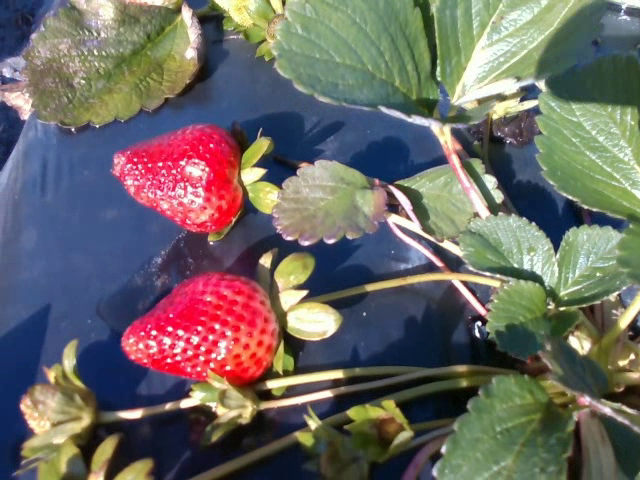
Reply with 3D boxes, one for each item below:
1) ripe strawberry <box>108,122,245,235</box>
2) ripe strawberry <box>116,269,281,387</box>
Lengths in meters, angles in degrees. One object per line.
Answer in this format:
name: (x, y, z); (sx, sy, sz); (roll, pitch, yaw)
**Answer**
ripe strawberry: (-0.052, -0.026, 0.219); (0.050, 0.051, 0.045); (14, -32, -18)
ripe strawberry: (-0.035, 0.026, 0.171); (0.049, 0.039, 0.042); (-3, 8, -35)
